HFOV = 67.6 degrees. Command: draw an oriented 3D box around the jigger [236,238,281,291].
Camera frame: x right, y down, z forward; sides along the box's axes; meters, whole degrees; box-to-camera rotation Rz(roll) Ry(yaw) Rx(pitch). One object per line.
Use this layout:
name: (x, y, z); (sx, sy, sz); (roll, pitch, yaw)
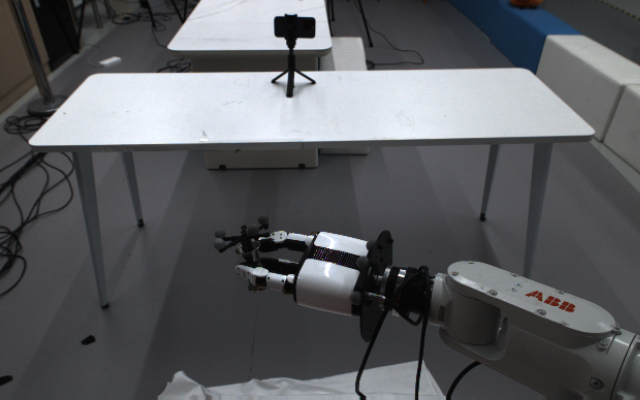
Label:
jigger: (-0.100, 0.102, 0.749); (0.043, 0.071, 0.043); (-14, 22, 6)
